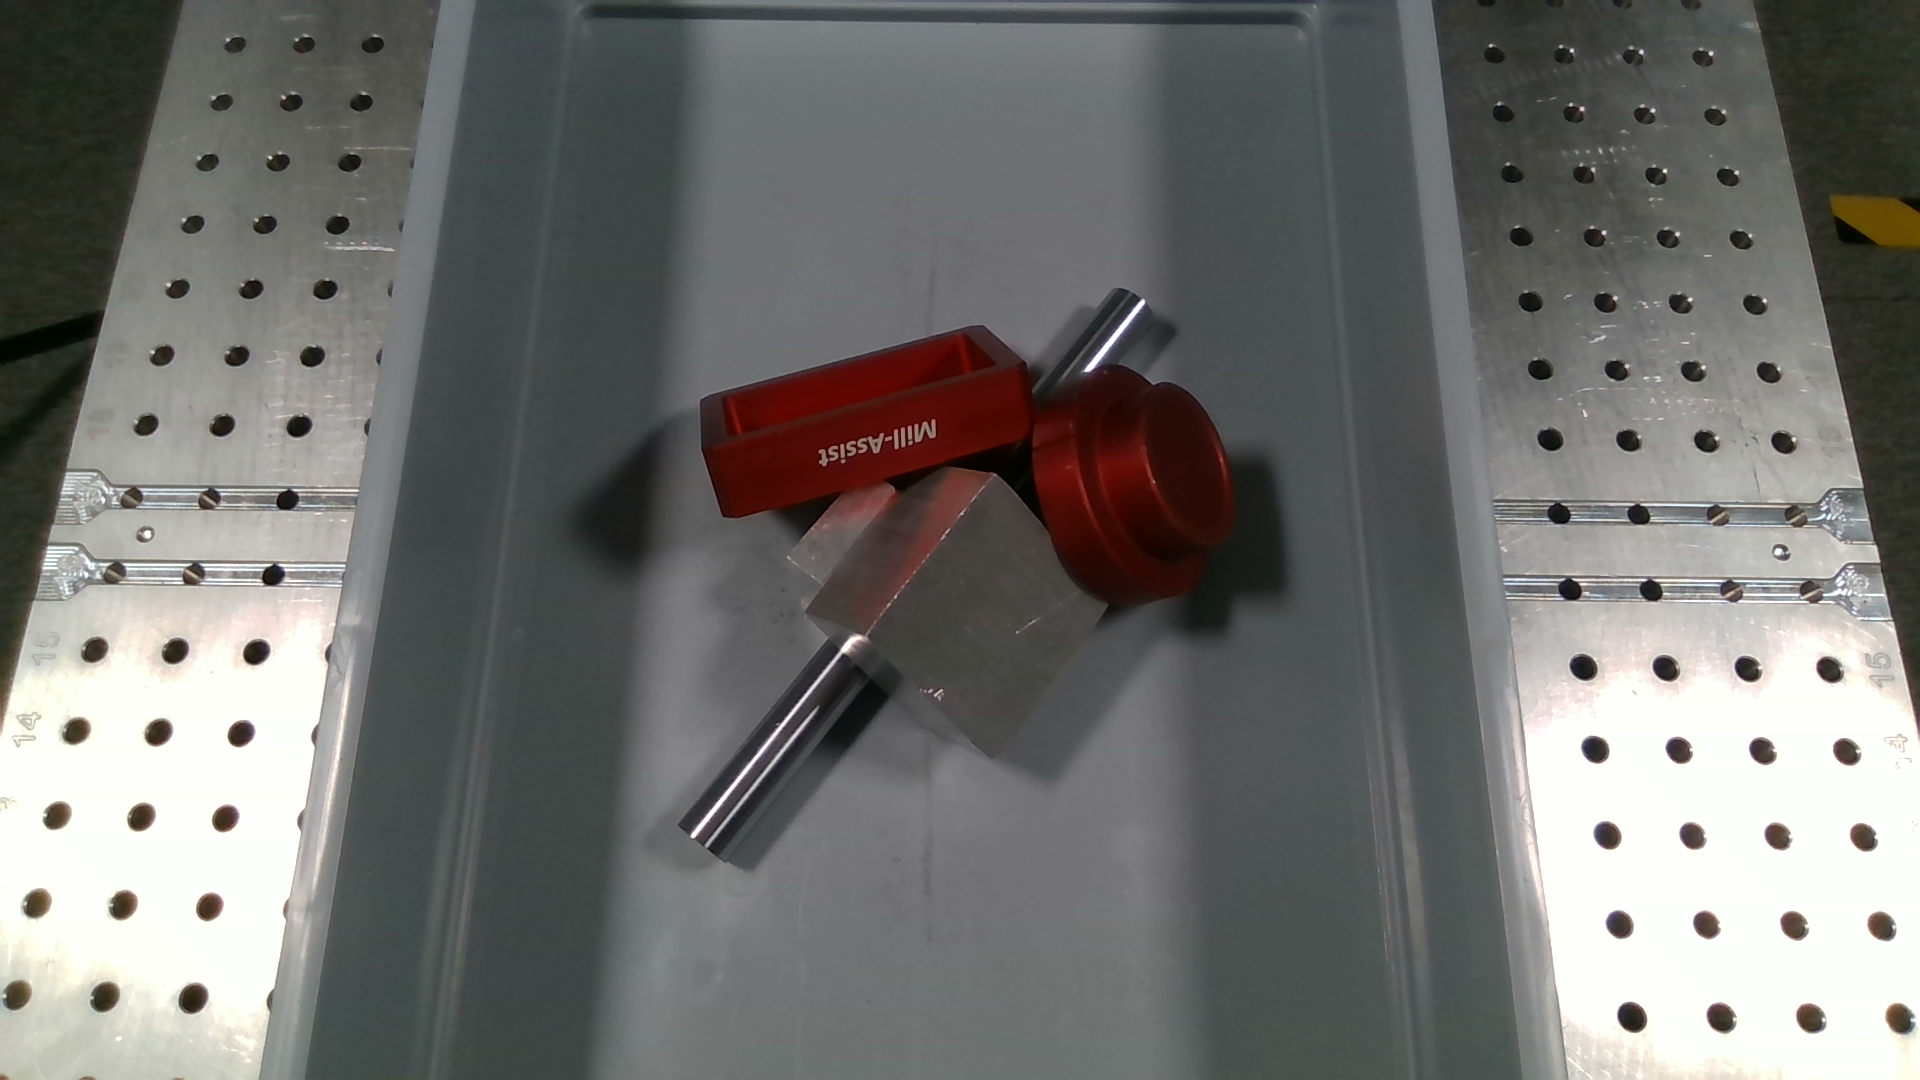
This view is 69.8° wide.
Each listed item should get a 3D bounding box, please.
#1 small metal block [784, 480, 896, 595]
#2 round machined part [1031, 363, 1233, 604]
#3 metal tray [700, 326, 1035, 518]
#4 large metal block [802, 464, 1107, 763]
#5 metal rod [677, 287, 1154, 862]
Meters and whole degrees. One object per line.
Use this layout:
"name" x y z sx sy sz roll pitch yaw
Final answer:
"small metal block" -0.044 0.005 0.572 0.025 0.050 0.050 36 74 12
"round machined part" 0.075 -0.025 0.555 0.042 0.098 0.098 -18 65 37
"metal tray" -0.041 -0.052 0.573 0.130 0.090 0.030 -16 111 -6
"large metal block" 0.000 0.027 0.543 0.080 0.050 0.080 -51 121 -16
"metal rod" -0.012 0.007 0.584 0.025 0.025 0.300 35 74 12
